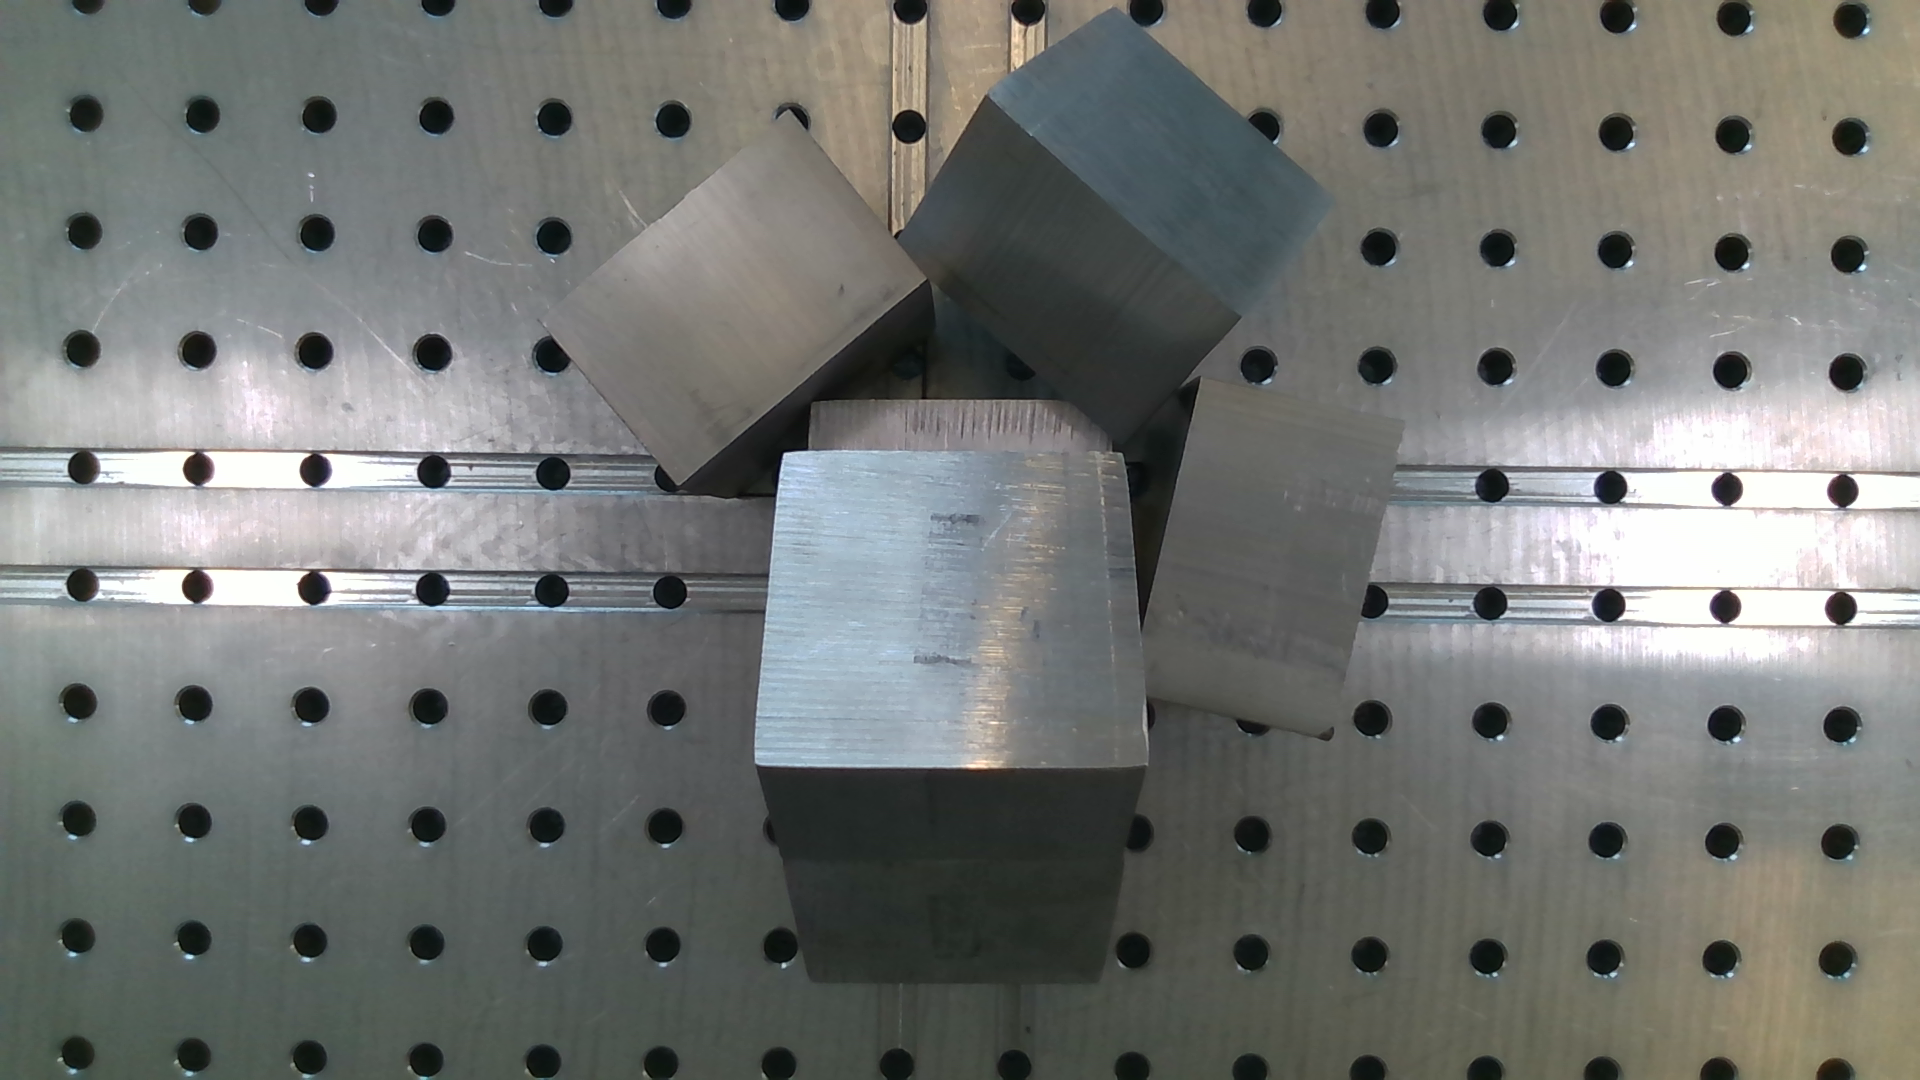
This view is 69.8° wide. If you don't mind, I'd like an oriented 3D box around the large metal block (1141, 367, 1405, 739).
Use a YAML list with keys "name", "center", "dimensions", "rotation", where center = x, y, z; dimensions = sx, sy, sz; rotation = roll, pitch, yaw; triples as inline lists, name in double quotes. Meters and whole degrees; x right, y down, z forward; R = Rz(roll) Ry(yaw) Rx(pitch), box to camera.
- name: "large metal block"
  center: [0.073, 0.003, 0.370]
  dimensions: [0.050, 0.080, 0.080]
  rotation: [13, 90, 0]

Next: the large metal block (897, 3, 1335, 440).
- name: "large metal block"
  center: [0.042, -0.085, 0.363]
  dimensions: [0.080, 0.080, 0.050]
  rotation: [41, 134, 0]

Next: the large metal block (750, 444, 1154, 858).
- name: "large metal block"
  center: [-0.002, 0.025, 0.316]
  dimensions: [0.080, 0.050, 0.080]
  rotation: [0, 56, -1]

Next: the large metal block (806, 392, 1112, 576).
- name: "large metal block"
  center: [-0.001, 0.002, 0.385]
  dimensions: [0.080, 0.050, 0.080]
  rotation: [1, 90, 0]

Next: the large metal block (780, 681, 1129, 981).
- name: "large metal block"
  center: [-0.002, 0.077, 0.362]
  dimensions: [0.080, 0.080, 0.050]
  rotation: [0, 52, -1]

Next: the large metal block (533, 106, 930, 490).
- name: "large metal block"
  center: [-0.055, -0.059, 0.369]
  dimensions: [0.080, 0.080, 0.050]
  rotation: [-40, 91, 0]
